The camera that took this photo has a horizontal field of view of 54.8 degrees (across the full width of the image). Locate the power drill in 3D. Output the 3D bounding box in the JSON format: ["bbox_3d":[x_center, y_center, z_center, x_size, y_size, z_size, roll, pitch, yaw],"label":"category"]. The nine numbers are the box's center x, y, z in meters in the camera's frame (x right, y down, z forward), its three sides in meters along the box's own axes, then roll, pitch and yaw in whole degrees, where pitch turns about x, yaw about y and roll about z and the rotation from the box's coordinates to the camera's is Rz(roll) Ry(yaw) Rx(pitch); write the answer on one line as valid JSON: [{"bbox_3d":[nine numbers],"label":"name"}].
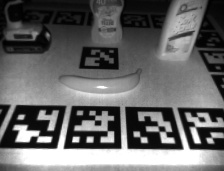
[{"bbox_3d":[-0.207,-0.220,0.541,0.185,0.188,0.057,-5,46,-2],"label":"power drill"}]

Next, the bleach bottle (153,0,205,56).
[{"bbox_3d":[0.173,-0.194,0.541,0.102,0.252,0.068,8,46,5],"label":"bleach bottle"}]

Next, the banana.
[{"bbox_3d":[-0.027,-0.027,0.501,0.198,0.039,0.074,-3,48,-3],"label":"banana"}]

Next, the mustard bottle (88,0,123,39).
[{"bbox_3d":[-0.017,-0.225,0.602,0.096,0.192,0.058,-3,46,-8],"label":"mustard bottle"}]
